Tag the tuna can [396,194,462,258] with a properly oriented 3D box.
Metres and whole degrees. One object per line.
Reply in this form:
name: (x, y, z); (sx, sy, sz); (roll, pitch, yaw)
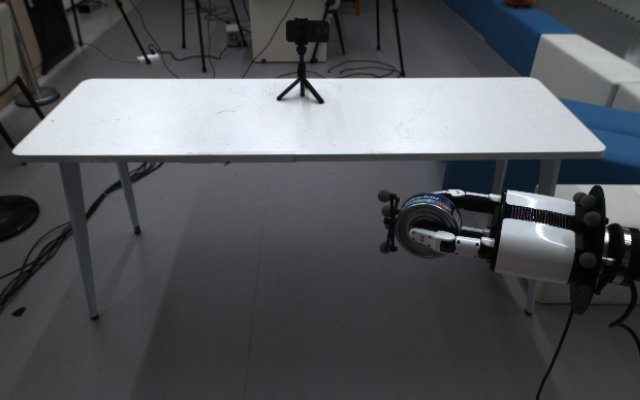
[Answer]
tuna can: (0.147, 0.032, 0.650); (0.085, 0.085, 0.034); (12, 27, 14)
